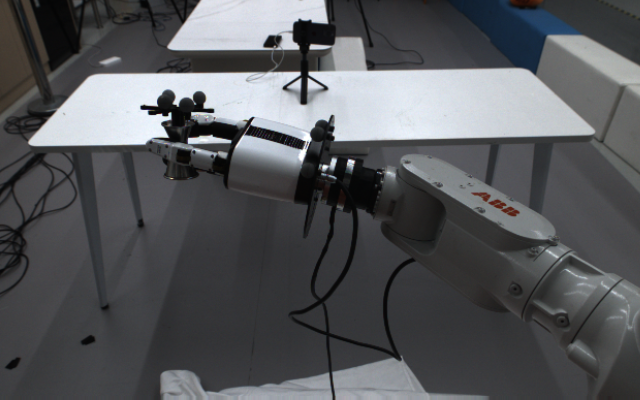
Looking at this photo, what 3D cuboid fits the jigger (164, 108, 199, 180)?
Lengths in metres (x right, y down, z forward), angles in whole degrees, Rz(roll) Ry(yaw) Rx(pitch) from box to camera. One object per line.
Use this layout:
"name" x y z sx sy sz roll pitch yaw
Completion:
"jigger" -0.177 -0.065 0.616 0.043 0.071 0.043 2 20 -1
